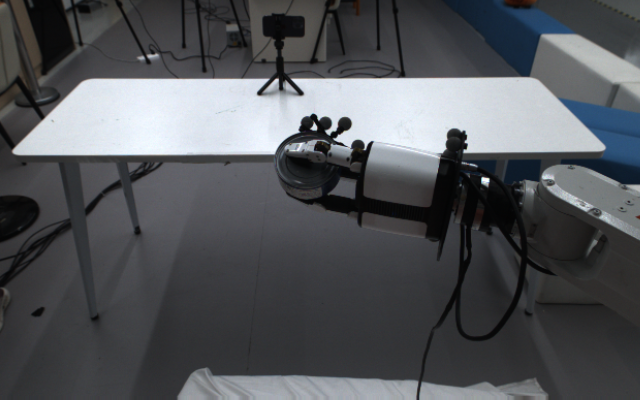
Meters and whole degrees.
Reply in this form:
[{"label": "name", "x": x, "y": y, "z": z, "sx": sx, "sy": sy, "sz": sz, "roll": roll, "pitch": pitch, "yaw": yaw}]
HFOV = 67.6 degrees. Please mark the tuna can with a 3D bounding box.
[{"label": "tuna can", "x": -0.015, "y": -0.045, "z": 0.626, "sx": 0.085, "sy": 0.034, "sz": 0.085, "roll": -2, "pitch": 60, "yaw": 3}]
